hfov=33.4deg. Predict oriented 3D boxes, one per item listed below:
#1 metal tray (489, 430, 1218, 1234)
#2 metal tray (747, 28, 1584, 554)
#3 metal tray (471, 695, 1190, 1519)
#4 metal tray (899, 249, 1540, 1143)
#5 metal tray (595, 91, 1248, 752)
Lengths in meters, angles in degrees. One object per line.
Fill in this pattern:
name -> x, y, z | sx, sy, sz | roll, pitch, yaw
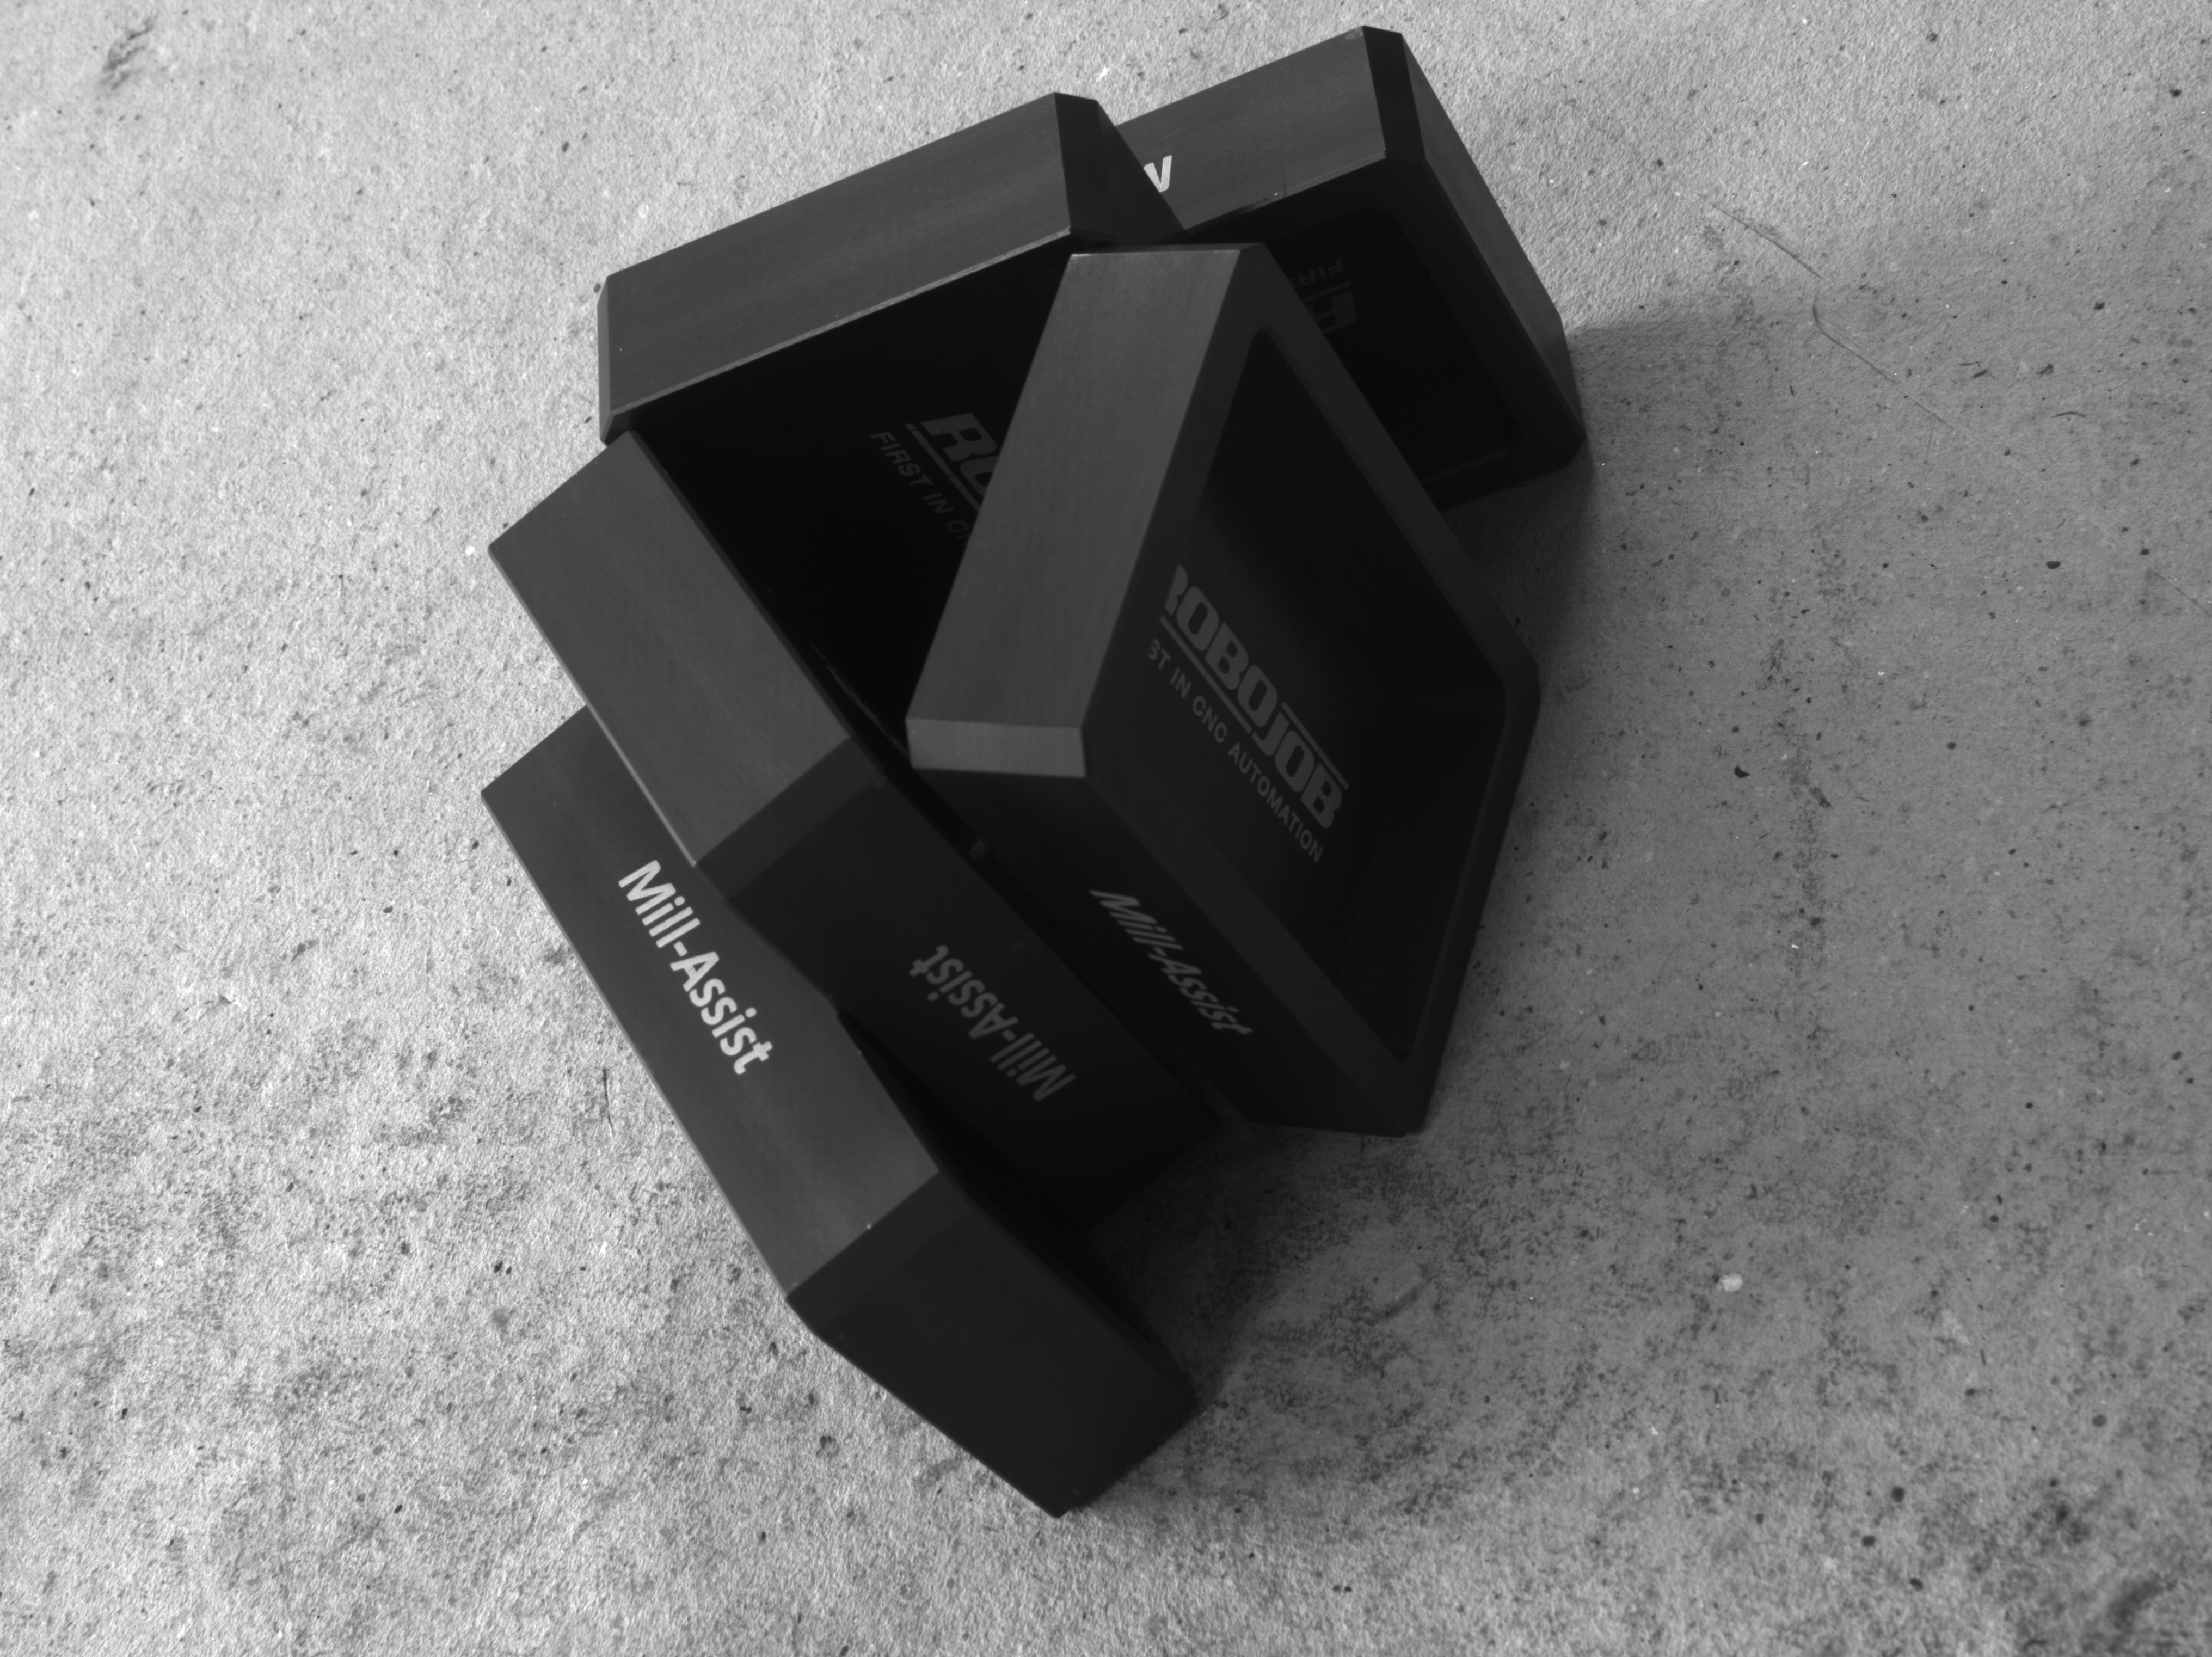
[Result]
metal tray -> -0.039, 0.003, 0.597 | 0.030, 0.130, 0.090 | -39, 51, 1
metal tray -> 0.008, -0.080, 0.648 | 0.130, 0.090, 0.030 | -18, 54, 17
metal tray -> -0.045, 0.043, 0.600 | 0.030, 0.090, 0.130 | -40, 51, 2
metal tray -> 0.023, -0.018, 0.576 | 0.030, 0.130, 0.090 | 5, 64, 31
metal tray -> -0.015, -0.059, 0.622 | 0.090, 0.130, 0.030 | -19, 54, 18
